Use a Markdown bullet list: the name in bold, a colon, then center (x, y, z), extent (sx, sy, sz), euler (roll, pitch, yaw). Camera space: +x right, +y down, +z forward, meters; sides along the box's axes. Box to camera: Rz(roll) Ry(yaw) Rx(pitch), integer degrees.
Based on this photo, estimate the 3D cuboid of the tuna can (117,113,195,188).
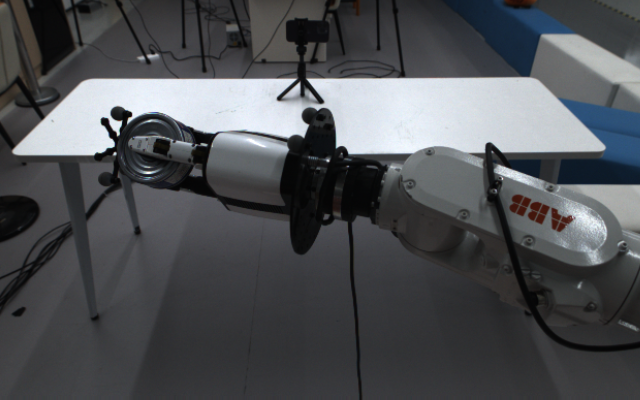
- **tuna can**: center (-0.187, -0.058, 0.563), extent (0.085, 0.085, 0.034), euler (10, -6, 11)
